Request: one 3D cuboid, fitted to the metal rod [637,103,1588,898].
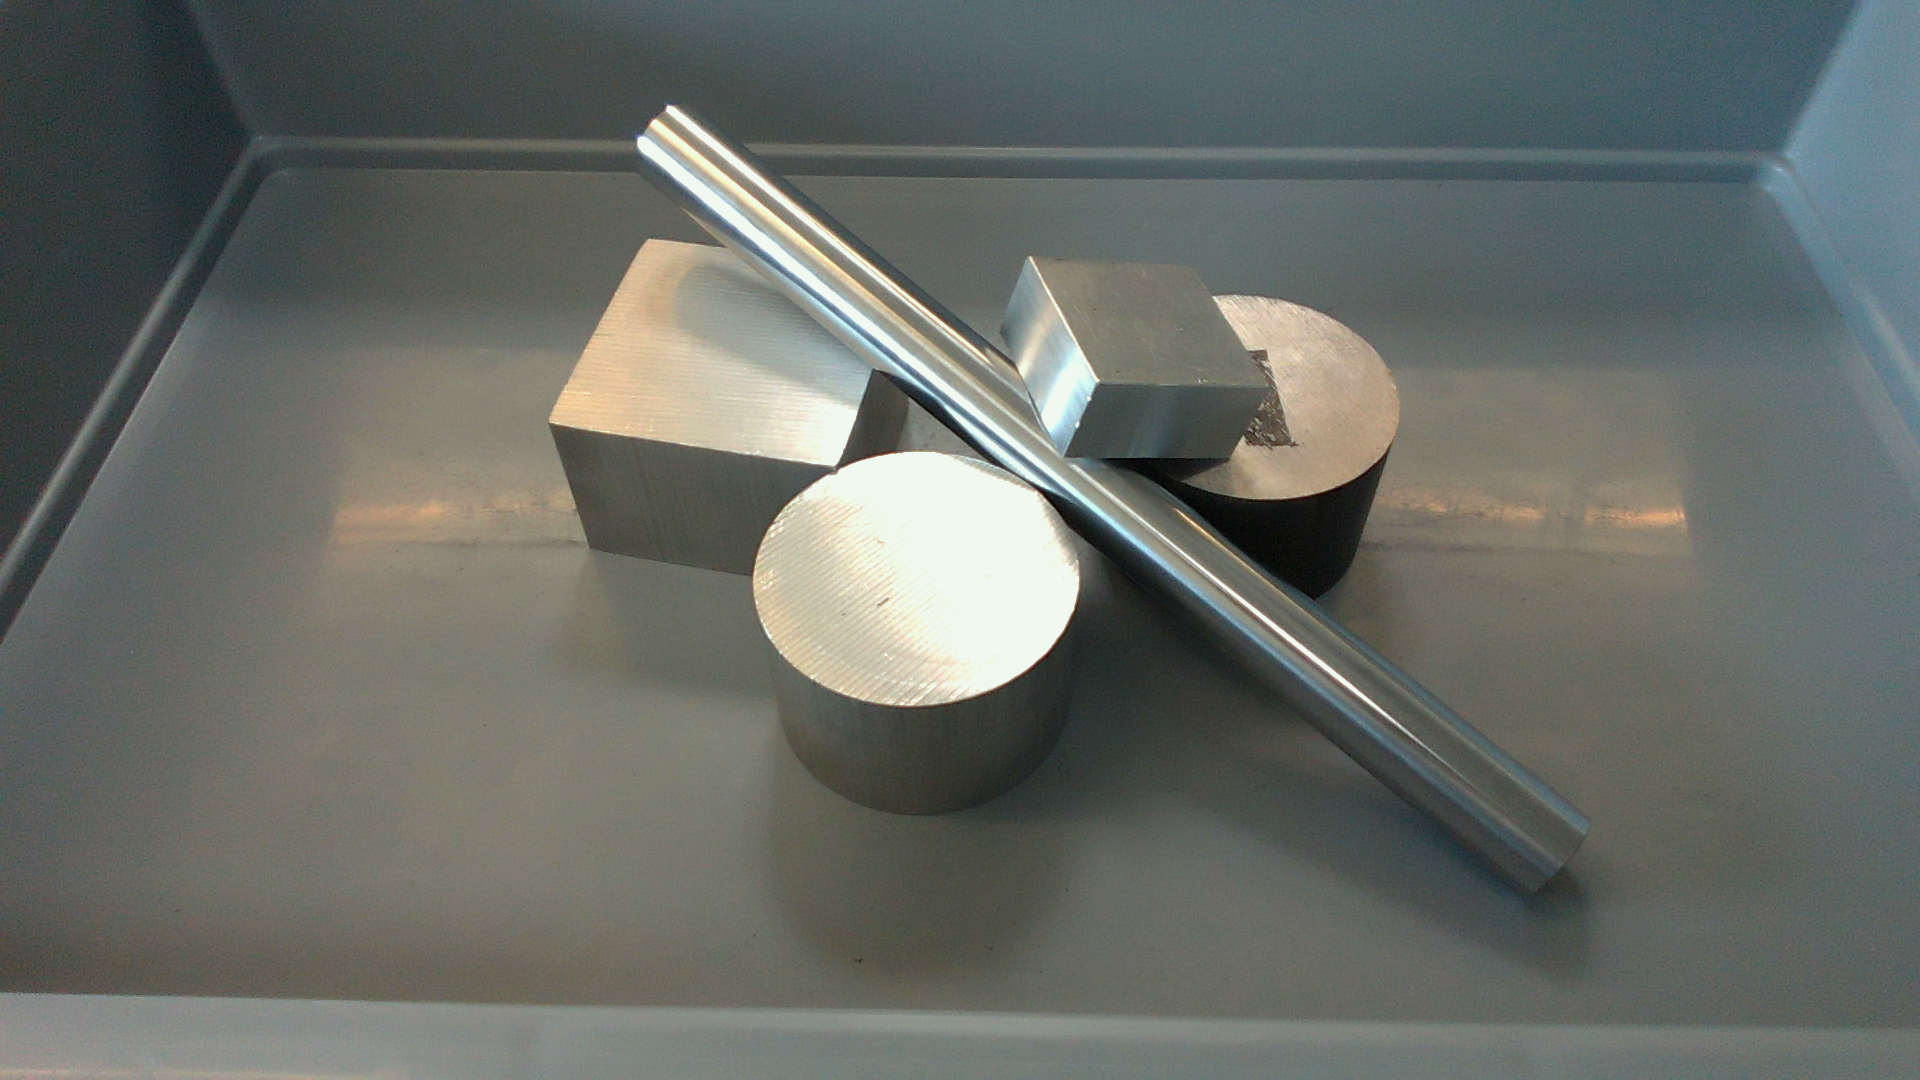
[{"bbox_3d":[0.029,-0.019,0.360,0.300,0.025,0.025,40,60,12],"label":"metal rod"}]

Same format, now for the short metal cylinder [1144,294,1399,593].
[{"bbox_3d":[0.079,-0.025,0.395,0.080,0.050,0.080,0,50,0],"label":"short metal cylinder"}]

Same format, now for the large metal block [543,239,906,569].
[{"bbox_3d":[-0.063,-0.039,0.404,0.080,0.050,0.080,8,50,7],"label":"large metal block"}]

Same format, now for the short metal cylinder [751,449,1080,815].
[{"bbox_3d":[-0.011,0.023,0.354,0.080,0.050,0.080,0,50,0],"label":"short metal cylinder"}]

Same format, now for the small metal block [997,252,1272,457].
[{"bbox_3d":[0.044,-0.048,0.356,0.050,0.025,0.050,-2,47,-25],"label":"small metal block"}]
